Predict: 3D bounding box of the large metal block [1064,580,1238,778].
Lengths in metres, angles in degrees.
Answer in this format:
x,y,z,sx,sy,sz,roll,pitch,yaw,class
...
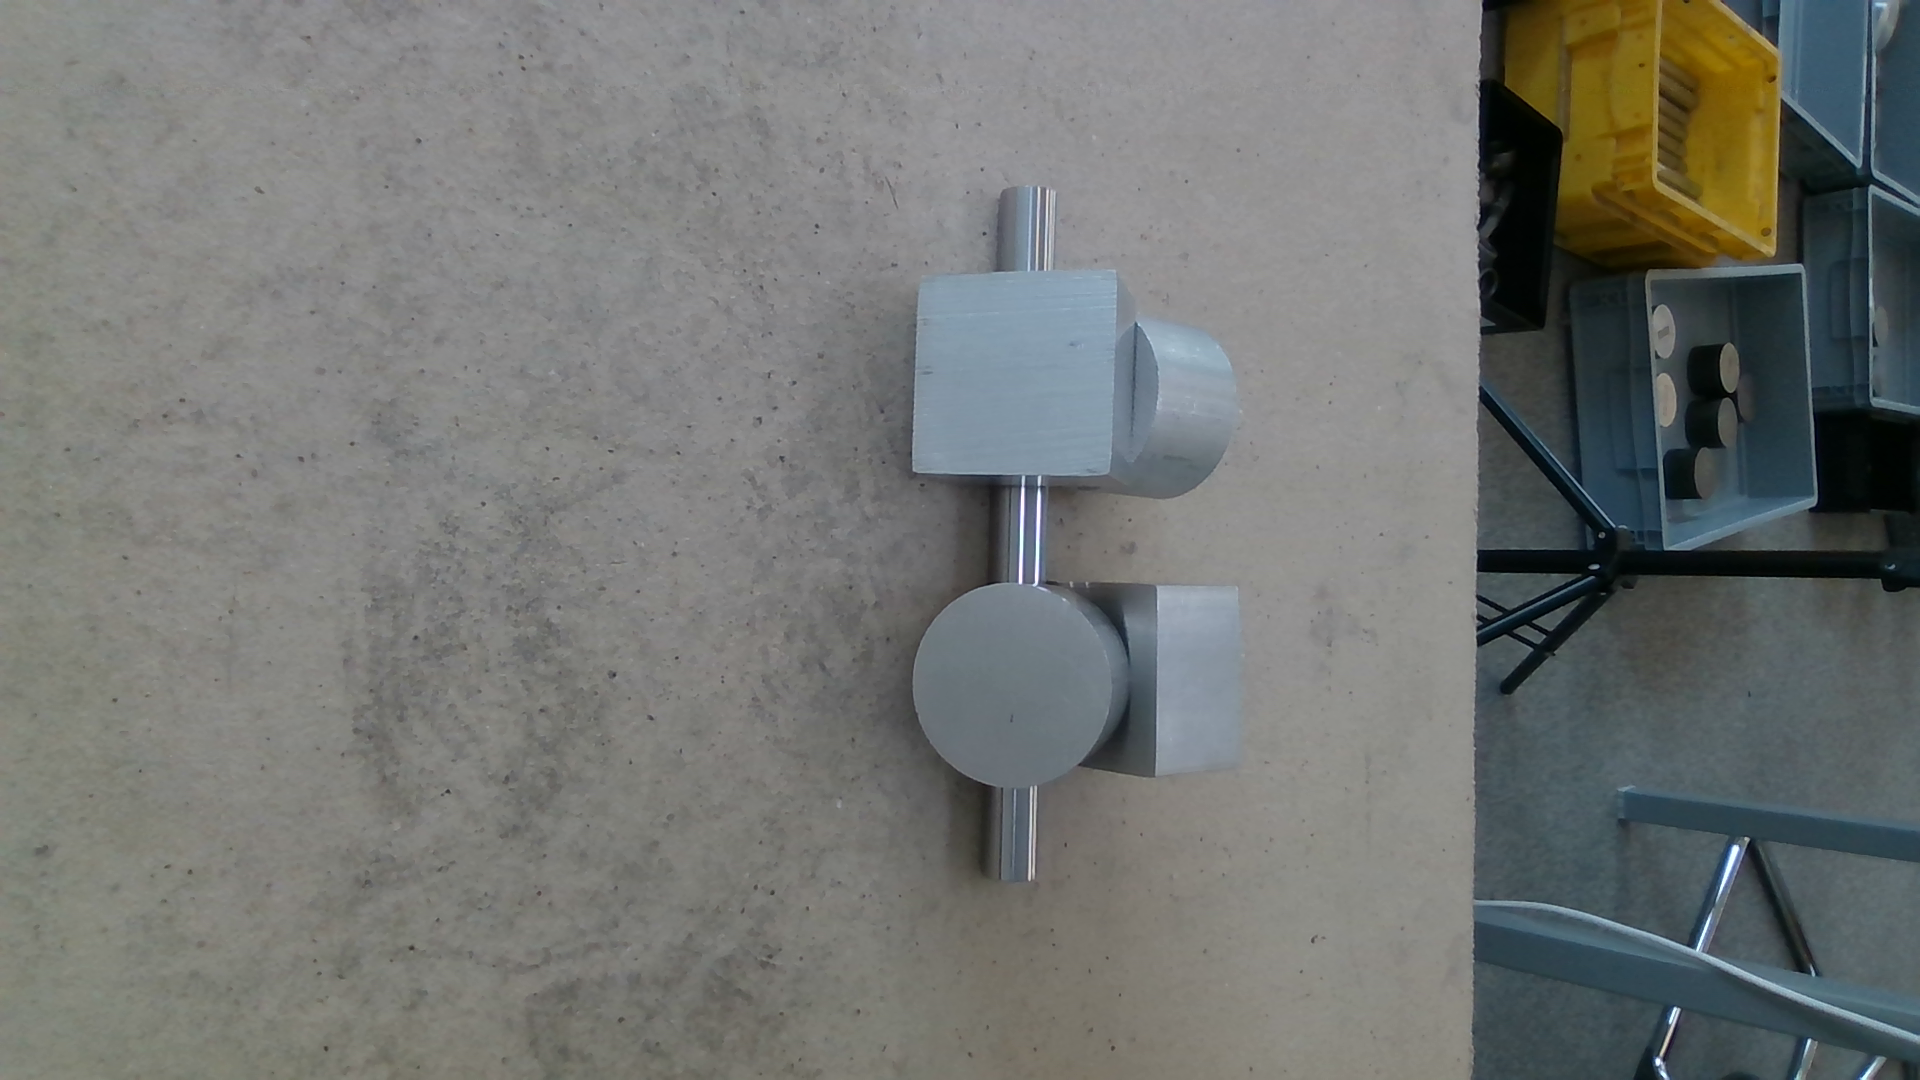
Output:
x,y,z,sx,sy,sz,roll,pitch,yaw,class
0.075,0.058,0.611,0.050,0.080,0.080,2,89,-40,large metal block

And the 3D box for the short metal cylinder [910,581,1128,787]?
x,y,z,sx,sy,sz,roll,pitch,yaw,class
0.025,0.057,0.561,0.050,0.080,0.080,5,86,-75,short metal cylinder

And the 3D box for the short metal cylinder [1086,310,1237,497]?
x,y,z,sx,sy,sz,roll,pitch,yaw,class
0.075,-0.061,0.611,0.050,0.080,0.080,4,87,-40,short metal cylinder

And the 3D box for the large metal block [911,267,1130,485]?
x,y,z,sx,sy,sz,roll,pitch,yaw,class
0.027,-0.065,0.562,0.050,0.080,0.080,7,85,-74,large metal block

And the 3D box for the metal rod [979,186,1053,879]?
x,y,z,sx,sy,sz,roll,pitch,yaw,class
0.025,-0.004,0.607,0.025,0.025,0.300,3,88,-40,metal rod
